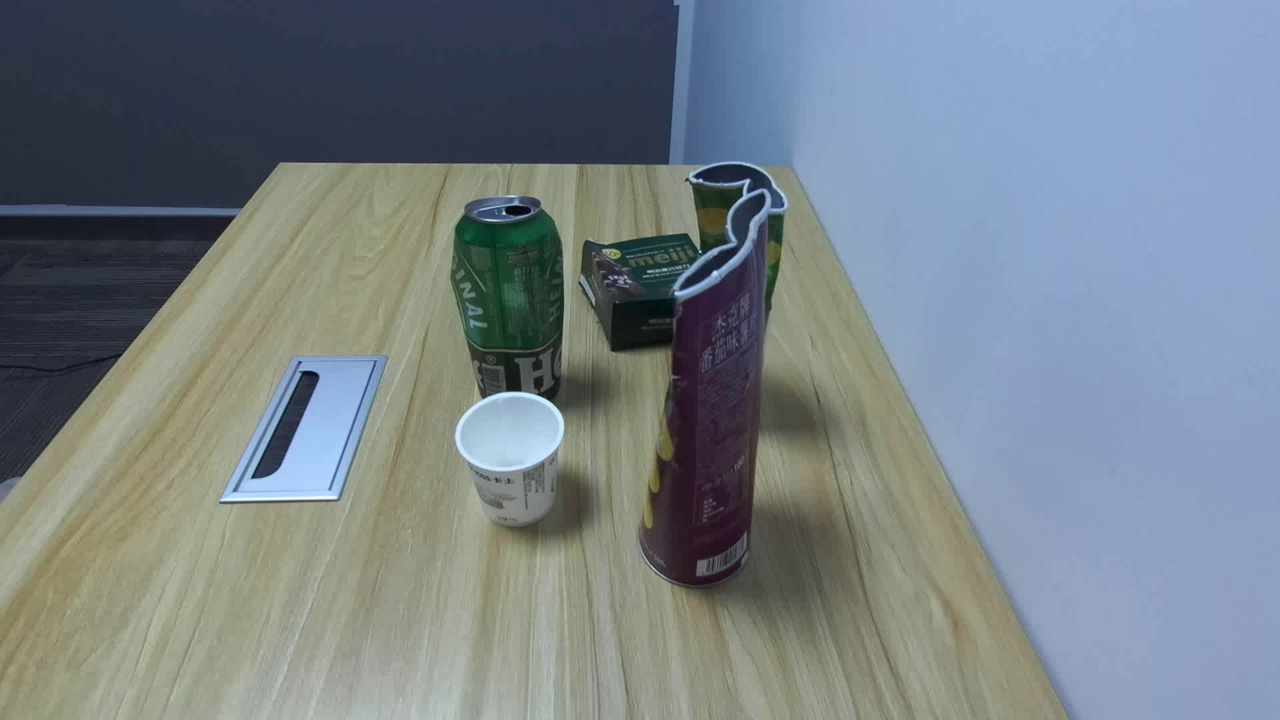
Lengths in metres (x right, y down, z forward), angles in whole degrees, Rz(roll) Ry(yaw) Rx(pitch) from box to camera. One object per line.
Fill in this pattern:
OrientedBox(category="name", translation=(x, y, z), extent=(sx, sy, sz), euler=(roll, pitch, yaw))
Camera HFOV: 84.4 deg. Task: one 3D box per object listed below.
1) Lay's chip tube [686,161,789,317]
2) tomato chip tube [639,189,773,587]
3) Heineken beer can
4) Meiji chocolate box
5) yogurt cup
OrientedBox(category="Lay's chip tube", translation=(0.065, -0.040, 0.513), extent=(0.077, 0.201, 0.069), euler=(14, 39, 17))
OrientedBox(category="tomato chip tube", translation=(0.043, 0.031, 0.407), extent=(0.090, 0.236, 0.077), euler=(-15, 41, -17))
OrientedBox(category="Heineken beer can", translation=(-0.097, -0.039, 0.540), extent=(0.068, 0.168, 0.069), euler=(24, 40, 30))
OrientedBox(category="Meiji chocolate box", translation=(0.012, -0.070, 0.690), extent=(0.116, 0.058, 0.122), euler=(-8, 42, -17))
OrientedBox(category="yogurt cup", translation=(-0.086, 0.072, 0.483), extent=(0.072, 0.068, 0.072), euler=(1, 40, -1))
